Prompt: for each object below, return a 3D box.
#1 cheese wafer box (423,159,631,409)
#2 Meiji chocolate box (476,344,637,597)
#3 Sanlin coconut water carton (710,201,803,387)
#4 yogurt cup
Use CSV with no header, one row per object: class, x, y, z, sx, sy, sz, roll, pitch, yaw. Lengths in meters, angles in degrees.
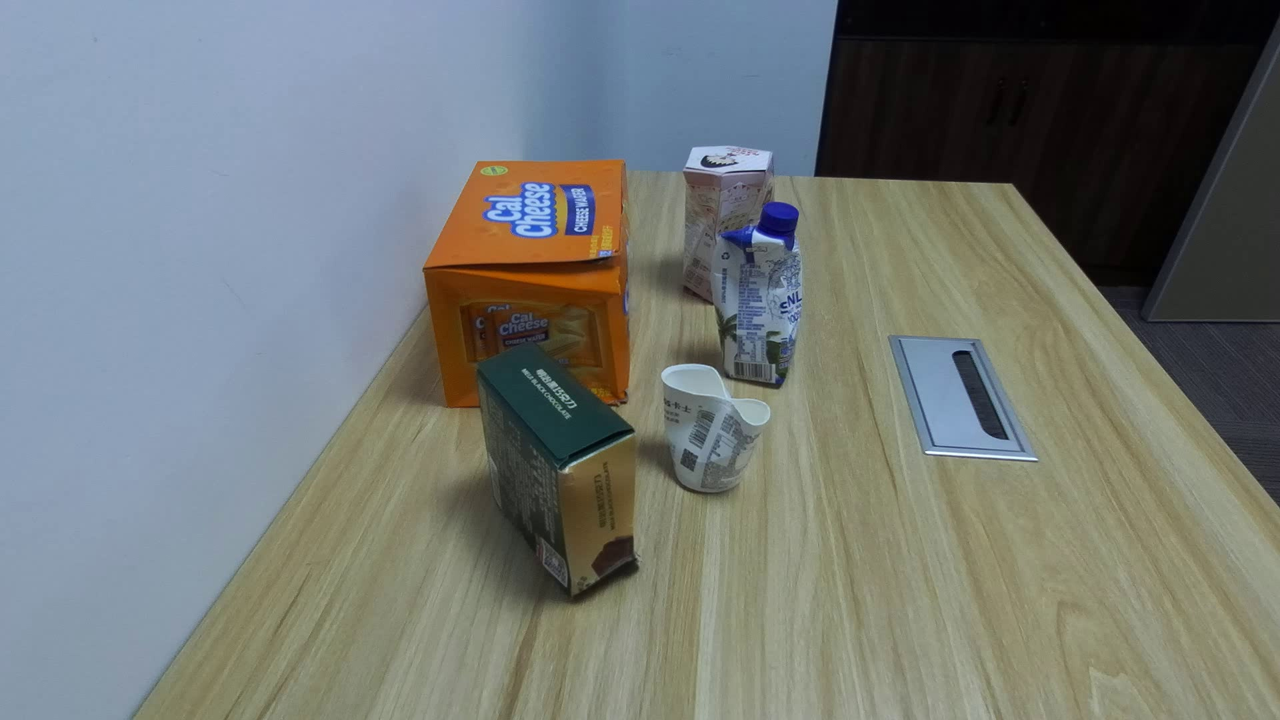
cheese wafer box,-0.082,-0.077,0.617,0.149,0.137,0.226,0,35,0
Meiji chocolate box,-0.051,0.066,0.433,0.059,0.116,0.122,-21,38,-27
Sanlin coconut water carton,0.096,-0.057,0.576,0.068,0.145,0.057,3,27,19
yogurt cup,0.049,0.048,0.484,0.075,0.071,0.053,7,37,13
